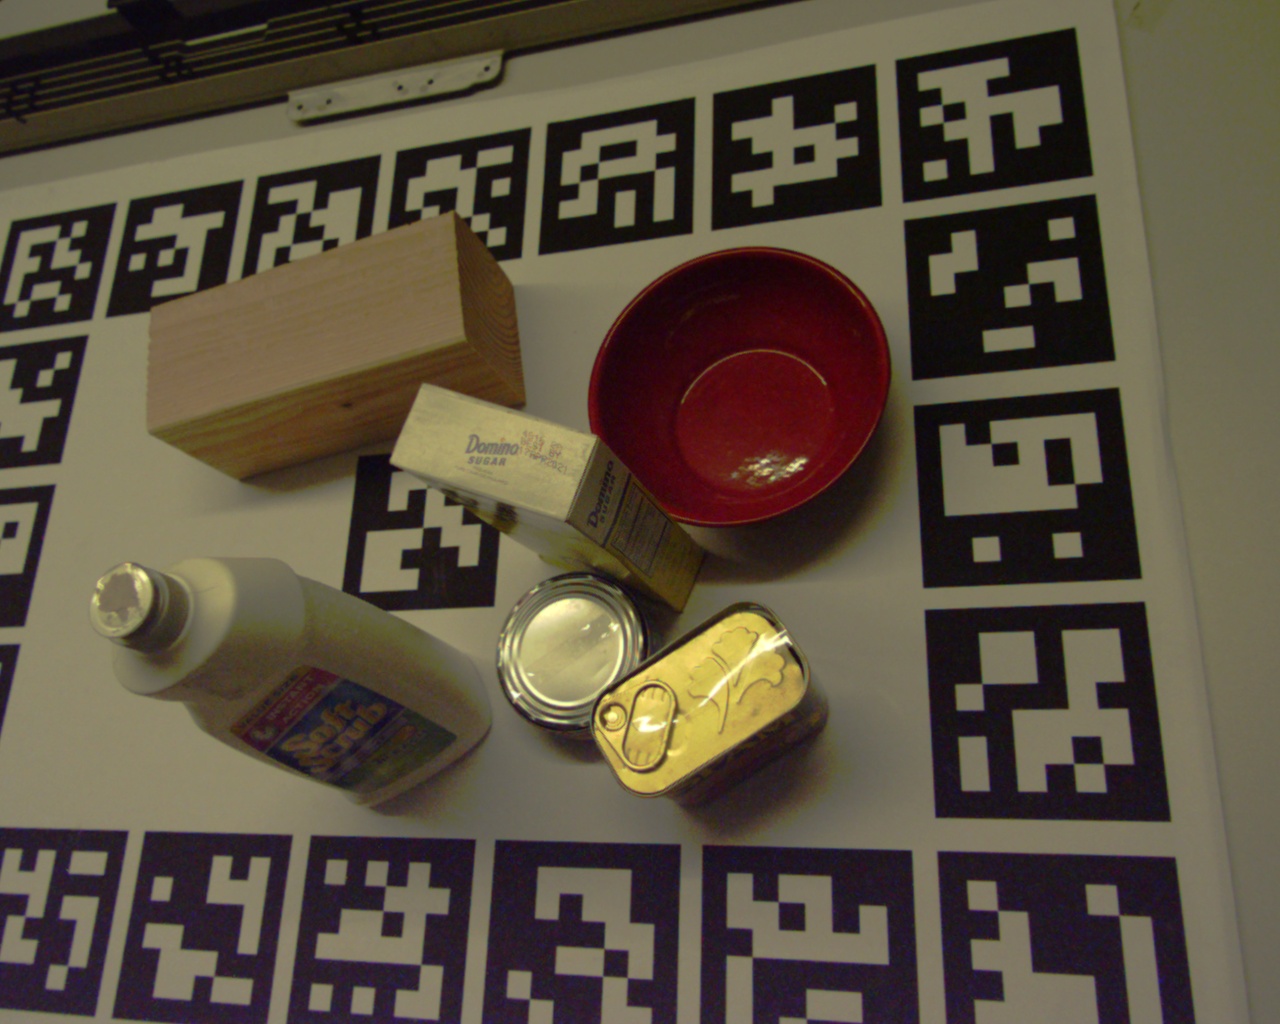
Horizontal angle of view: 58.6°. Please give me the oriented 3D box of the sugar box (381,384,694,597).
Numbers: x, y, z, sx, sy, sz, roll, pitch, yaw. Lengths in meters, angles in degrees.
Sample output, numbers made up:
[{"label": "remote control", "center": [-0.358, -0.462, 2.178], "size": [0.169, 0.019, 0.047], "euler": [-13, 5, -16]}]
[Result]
[{"label": "sugar box", "center": [-0.046, -0.006, 0.588], "size": [0.094, 0.174, 0.045], "euler": [16, 79, 27]}]

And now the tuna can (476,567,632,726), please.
[{"label": "tuna can", "center": [-0.046, 0.076, 0.638], "size": [0.086, 0.033, 0.086], "euler": [-6, 73, 19]}]

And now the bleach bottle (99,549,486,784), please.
[{"label": "bleach bottle", "center": [-0.173, 0.076, 0.568], "size": [0.103, 0.248, 0.068], "euler": [-30, 64, 7]}]

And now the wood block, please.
[{"label": "wood block", "center": [-0.201, -0.095, 0.730], "size": [0.207, 0.089, 0.091], "euler": [-15, 72, 14]}]

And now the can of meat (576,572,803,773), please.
[{"label": "can of meat", "center": [0.030, 0.086, 0.586], "size": [0.102, 0.083, 0.058], "euler": [-34, 61, 4]}]

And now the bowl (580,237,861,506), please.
[{"label": "bowl", "center": [0.049, -0.072, 0.646], "size": [0.163, 0.054, 0.162], "euler": [-8, 69, 21]}]
